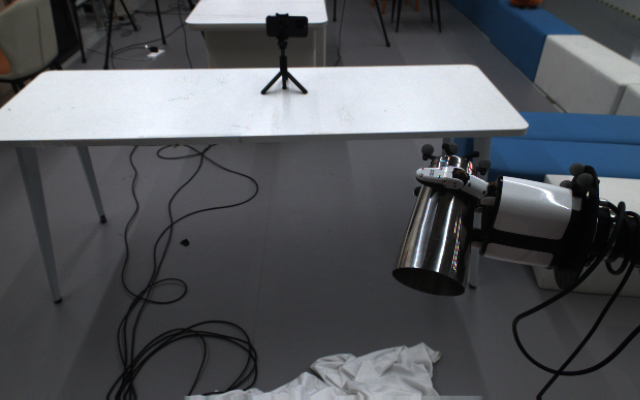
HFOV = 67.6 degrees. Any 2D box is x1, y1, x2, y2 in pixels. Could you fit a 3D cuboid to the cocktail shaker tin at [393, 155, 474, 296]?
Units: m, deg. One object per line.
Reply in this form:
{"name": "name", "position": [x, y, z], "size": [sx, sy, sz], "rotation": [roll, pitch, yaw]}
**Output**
{"name": "cocktail shaker tin", "position": [0.161, 0.025, 0.635], "size": [0.093, 0.093, 0.170], "rotation": [13, 65, 15]}
